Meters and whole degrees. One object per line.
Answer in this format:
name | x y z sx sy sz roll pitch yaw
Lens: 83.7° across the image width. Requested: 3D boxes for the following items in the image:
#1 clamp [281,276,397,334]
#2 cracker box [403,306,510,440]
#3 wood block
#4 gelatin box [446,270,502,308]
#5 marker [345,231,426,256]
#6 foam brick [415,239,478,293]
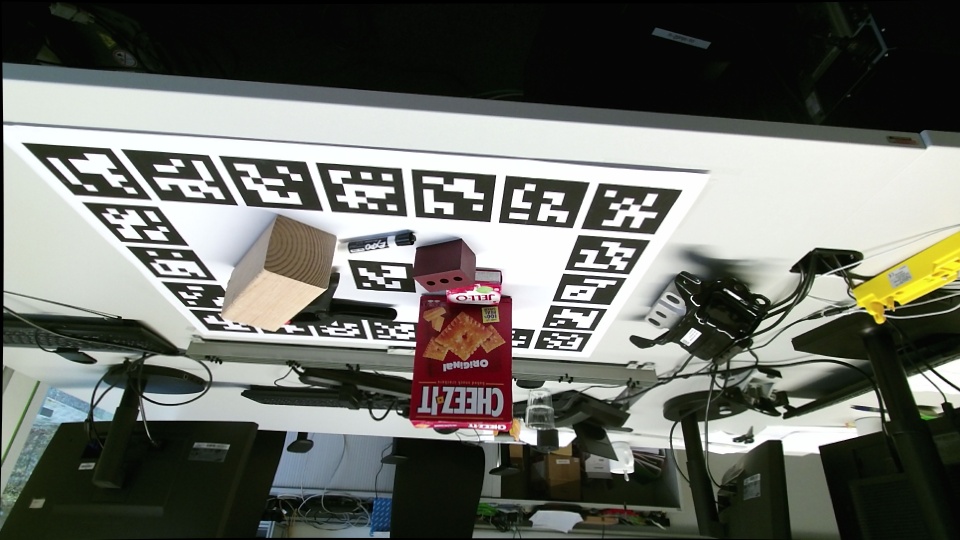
clamp | -0.271 0.079 0.941 0.203 0.036 0.166 -15 143 24
cracker box | -0.033 0.167 0.896 0.165 0.212 0.072 2 148 3
wood block | -0.303 0.015 0.801 0.090 0.090 0.206 22 145 -32
gelatin box | -0.011 0.031 0.865 0.090 0.030 0.073 2 146 -1
marker | -0.136 -0.037 0.767 0.121 0.019 0.020 -8 144 15
foam brick | -0.048 -0.004 0.788 0.078 0.051 0.053 -11 143 19
